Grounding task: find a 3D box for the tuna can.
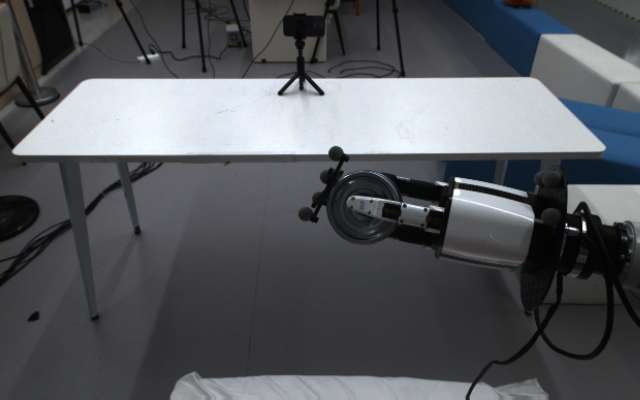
[{"bbox_3d":[0.054,0.006,0.559,0.085,0.085,0.034,9,4,10],"label":"tuna can"}]
